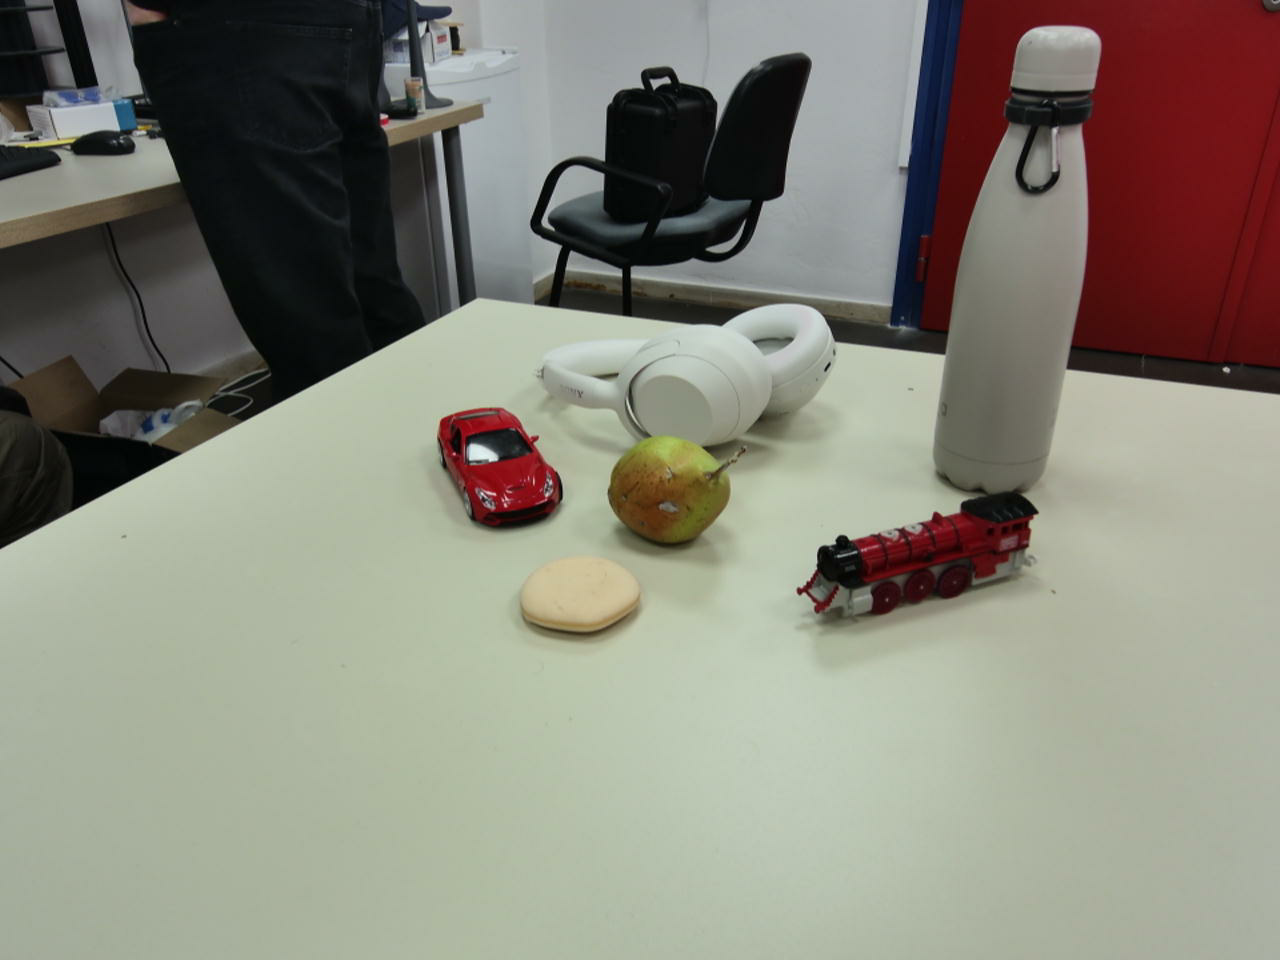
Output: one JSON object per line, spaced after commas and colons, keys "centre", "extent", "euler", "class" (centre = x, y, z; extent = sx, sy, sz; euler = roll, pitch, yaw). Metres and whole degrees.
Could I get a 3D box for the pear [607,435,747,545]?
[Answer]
{"centre": [0.017, 0.003, 0.586], "extent": [0.068, 0.069, 0.070], "euler": [-6, 26, -13], "class": "pear"}
